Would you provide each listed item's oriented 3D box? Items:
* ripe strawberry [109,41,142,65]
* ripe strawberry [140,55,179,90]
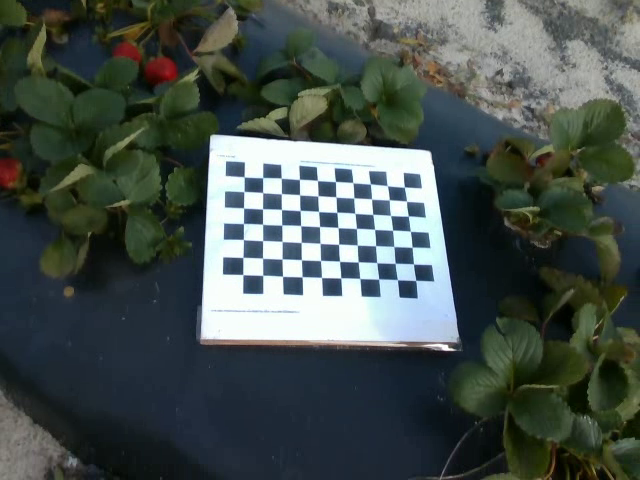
[{"bbox_3d":[-0.306,-0.288,0.932,0.048,0.041,0.056,15,35,-3],"label":"ripe strawberry"},{"bbox_3d":[-0.248,-0.267,0.926,0.057,0.051,0.064,-15,32,-21],"label":"ripe strawberry"}]
